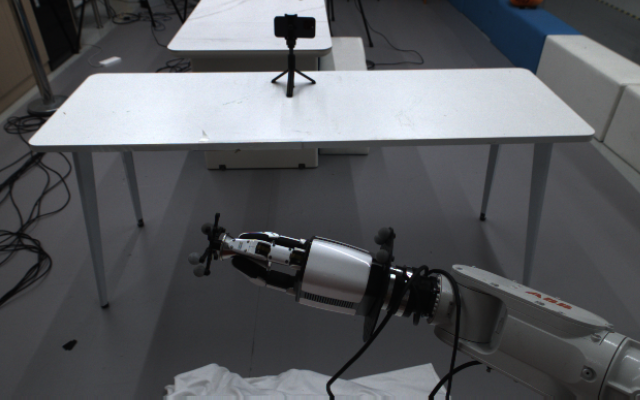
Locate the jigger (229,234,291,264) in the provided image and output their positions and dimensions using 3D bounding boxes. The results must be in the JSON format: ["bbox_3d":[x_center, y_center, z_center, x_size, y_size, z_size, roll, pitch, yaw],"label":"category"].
[{"bbox_3d":[-0.093,0.067,0.670,0.071,0.043,0.043,11,35,3],"label":"jigger"}]
